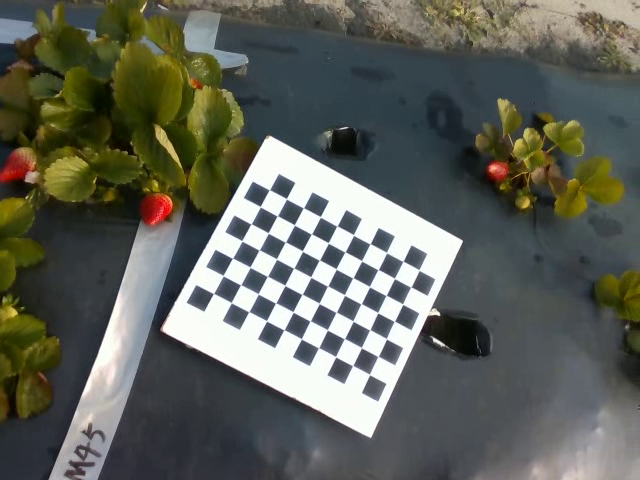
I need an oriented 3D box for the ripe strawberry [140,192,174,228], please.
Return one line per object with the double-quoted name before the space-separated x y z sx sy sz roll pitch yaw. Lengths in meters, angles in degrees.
"ripe strawberry" -0.185 -0.032 0.672 0.050 0.055 0.036 23 -28 -11
